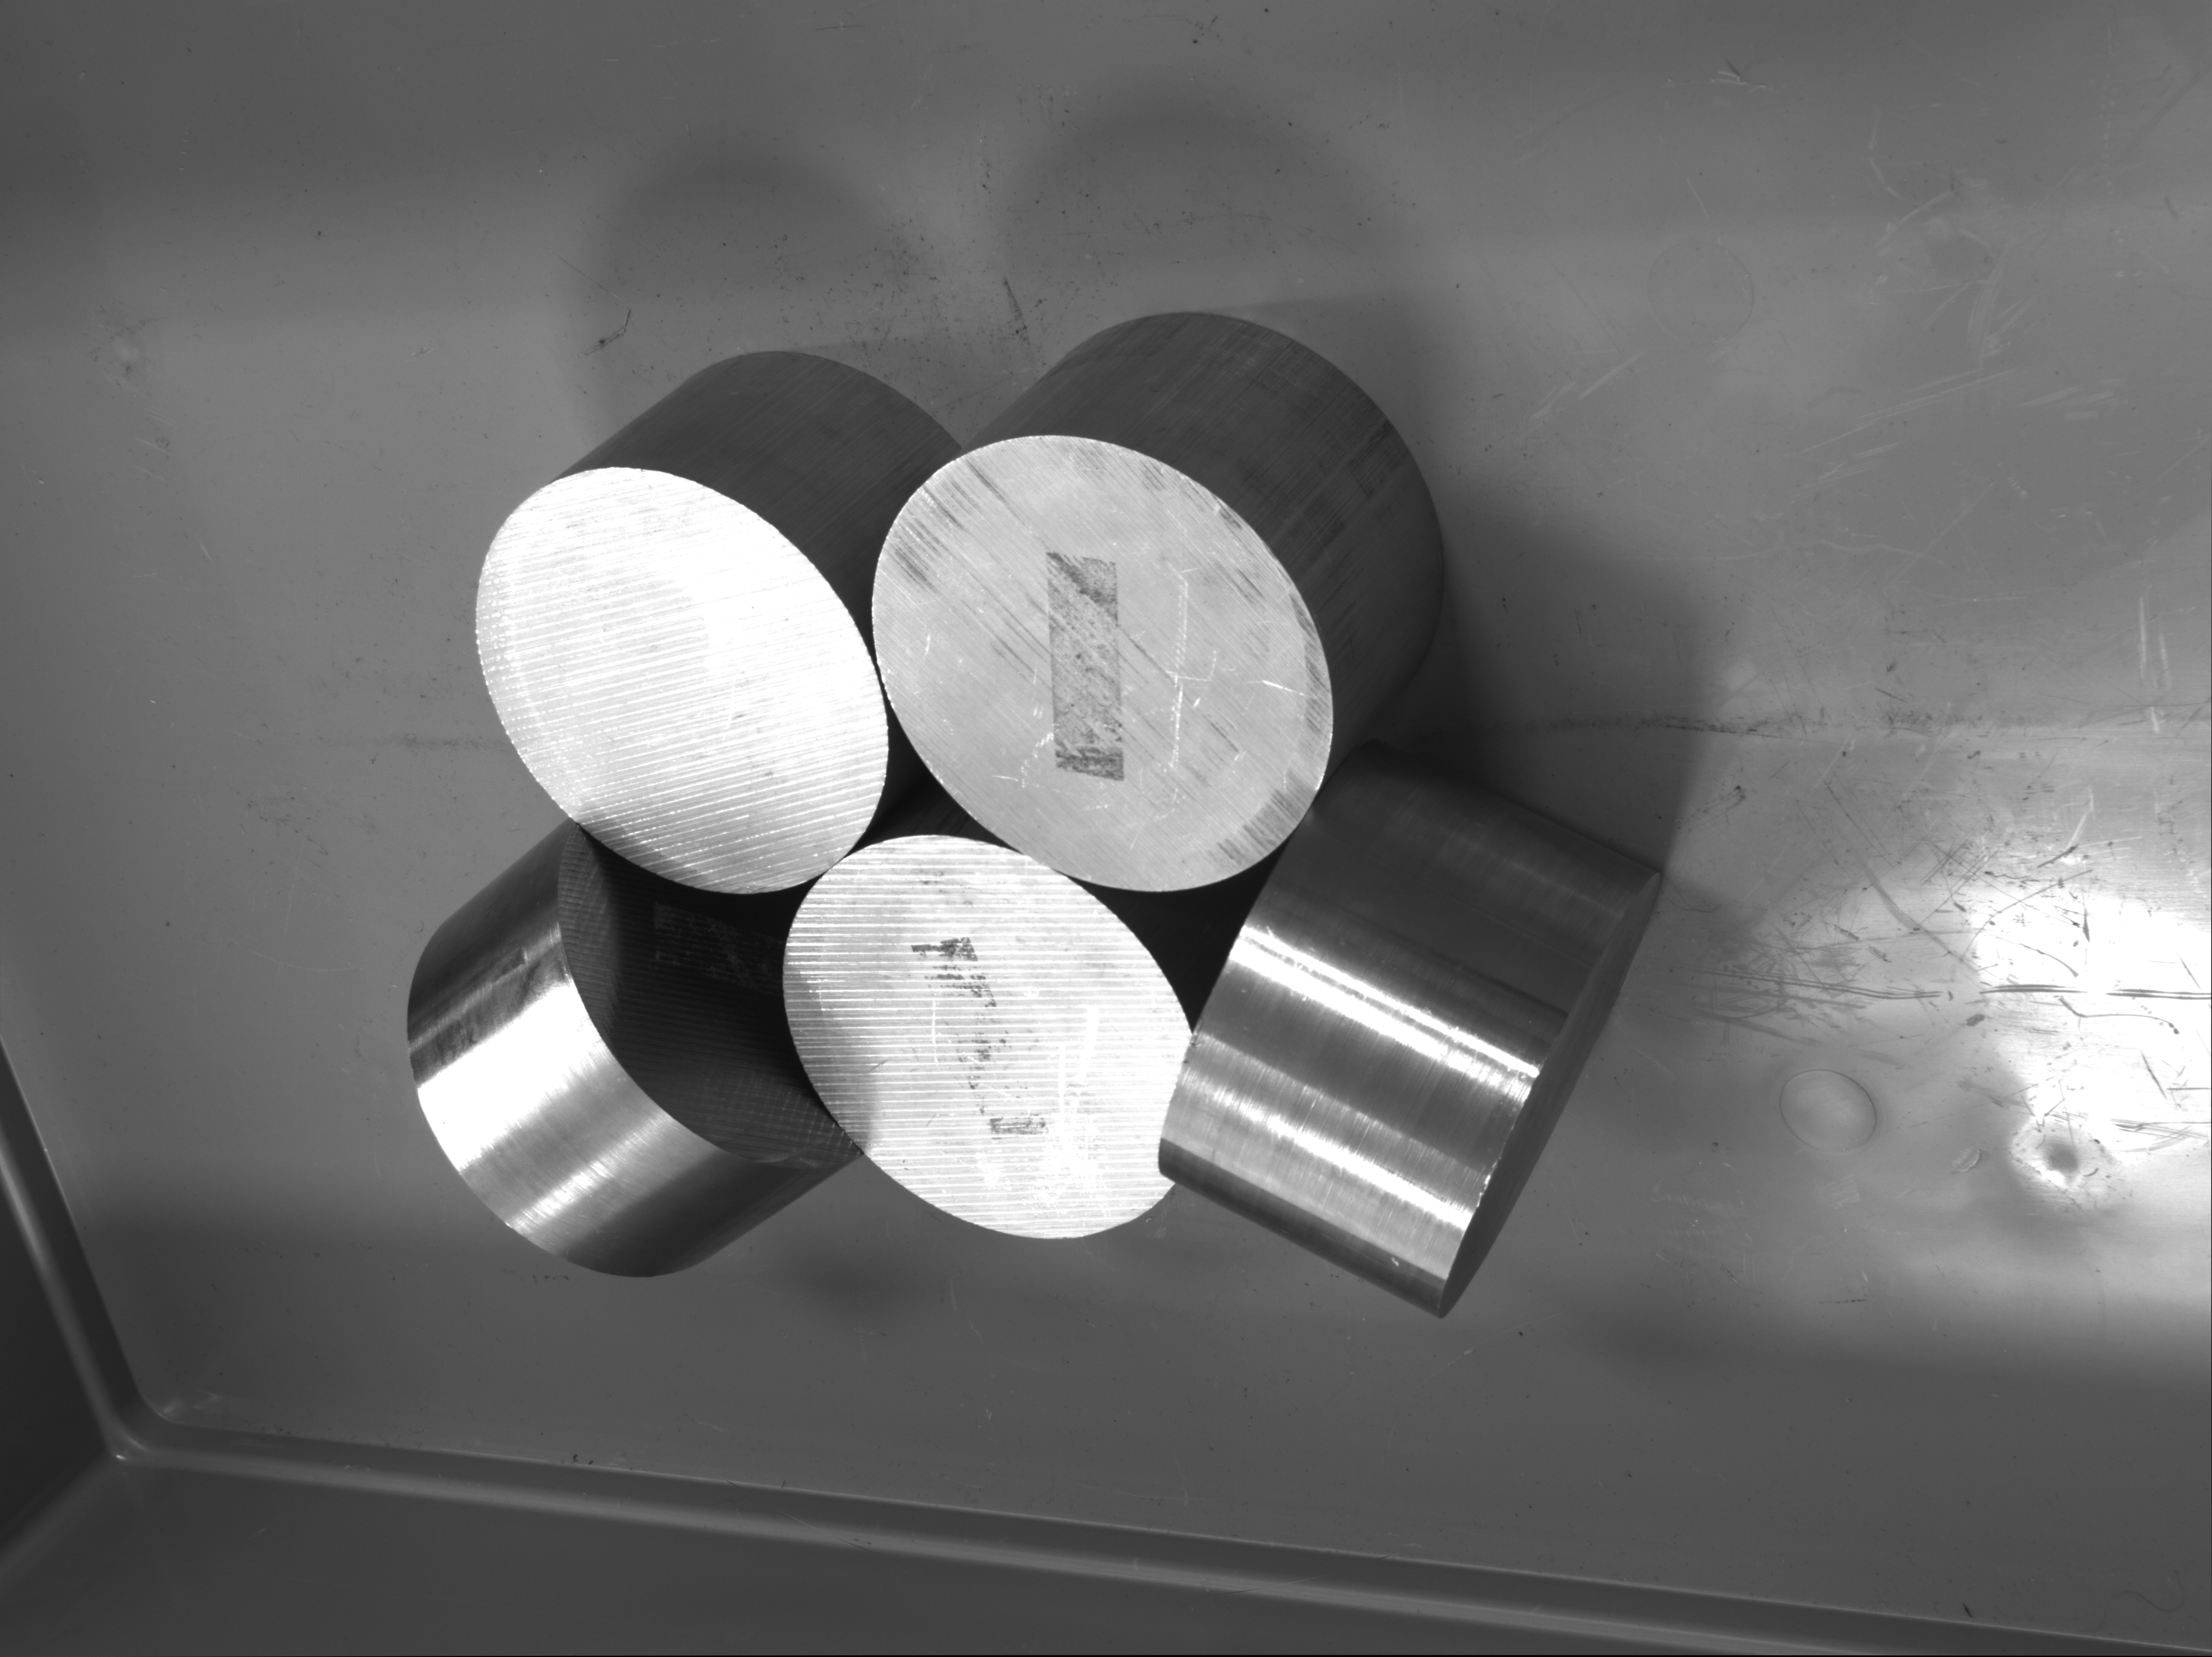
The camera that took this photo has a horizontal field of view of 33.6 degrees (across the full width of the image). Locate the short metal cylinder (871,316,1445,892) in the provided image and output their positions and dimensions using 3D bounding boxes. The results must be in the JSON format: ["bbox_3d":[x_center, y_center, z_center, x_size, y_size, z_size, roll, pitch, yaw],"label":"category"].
[{"bbox_3d":[0.009,-0.037,0.598,0.080,0.050,0.080,13,124,21],"label":"short metal cylinder"}]

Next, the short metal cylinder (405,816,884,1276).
[{"bbox_3d":[-0.080,0.035,0.670,0.050,0.080,0.080,-35,99,38],"label":"short metal cylinder"}]

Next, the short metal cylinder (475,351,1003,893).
[{"bbox_3d":[-0.061,-0.036,0.636,0.080,0.050,0.080,13,124,21],"label":"short metal cylinder"}]

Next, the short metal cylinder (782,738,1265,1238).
[{"bbox_3d":[-0.010,0.025,0.645,0.080,0.050,0.080,13,124,21],"label":"short metal cylinder"}]

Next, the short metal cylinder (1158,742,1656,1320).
[{"bbox_3d":[0.050,0.033,0.599,0.050,0.080,0.080,26,128,12],"label":"short metal cylinder"}]
